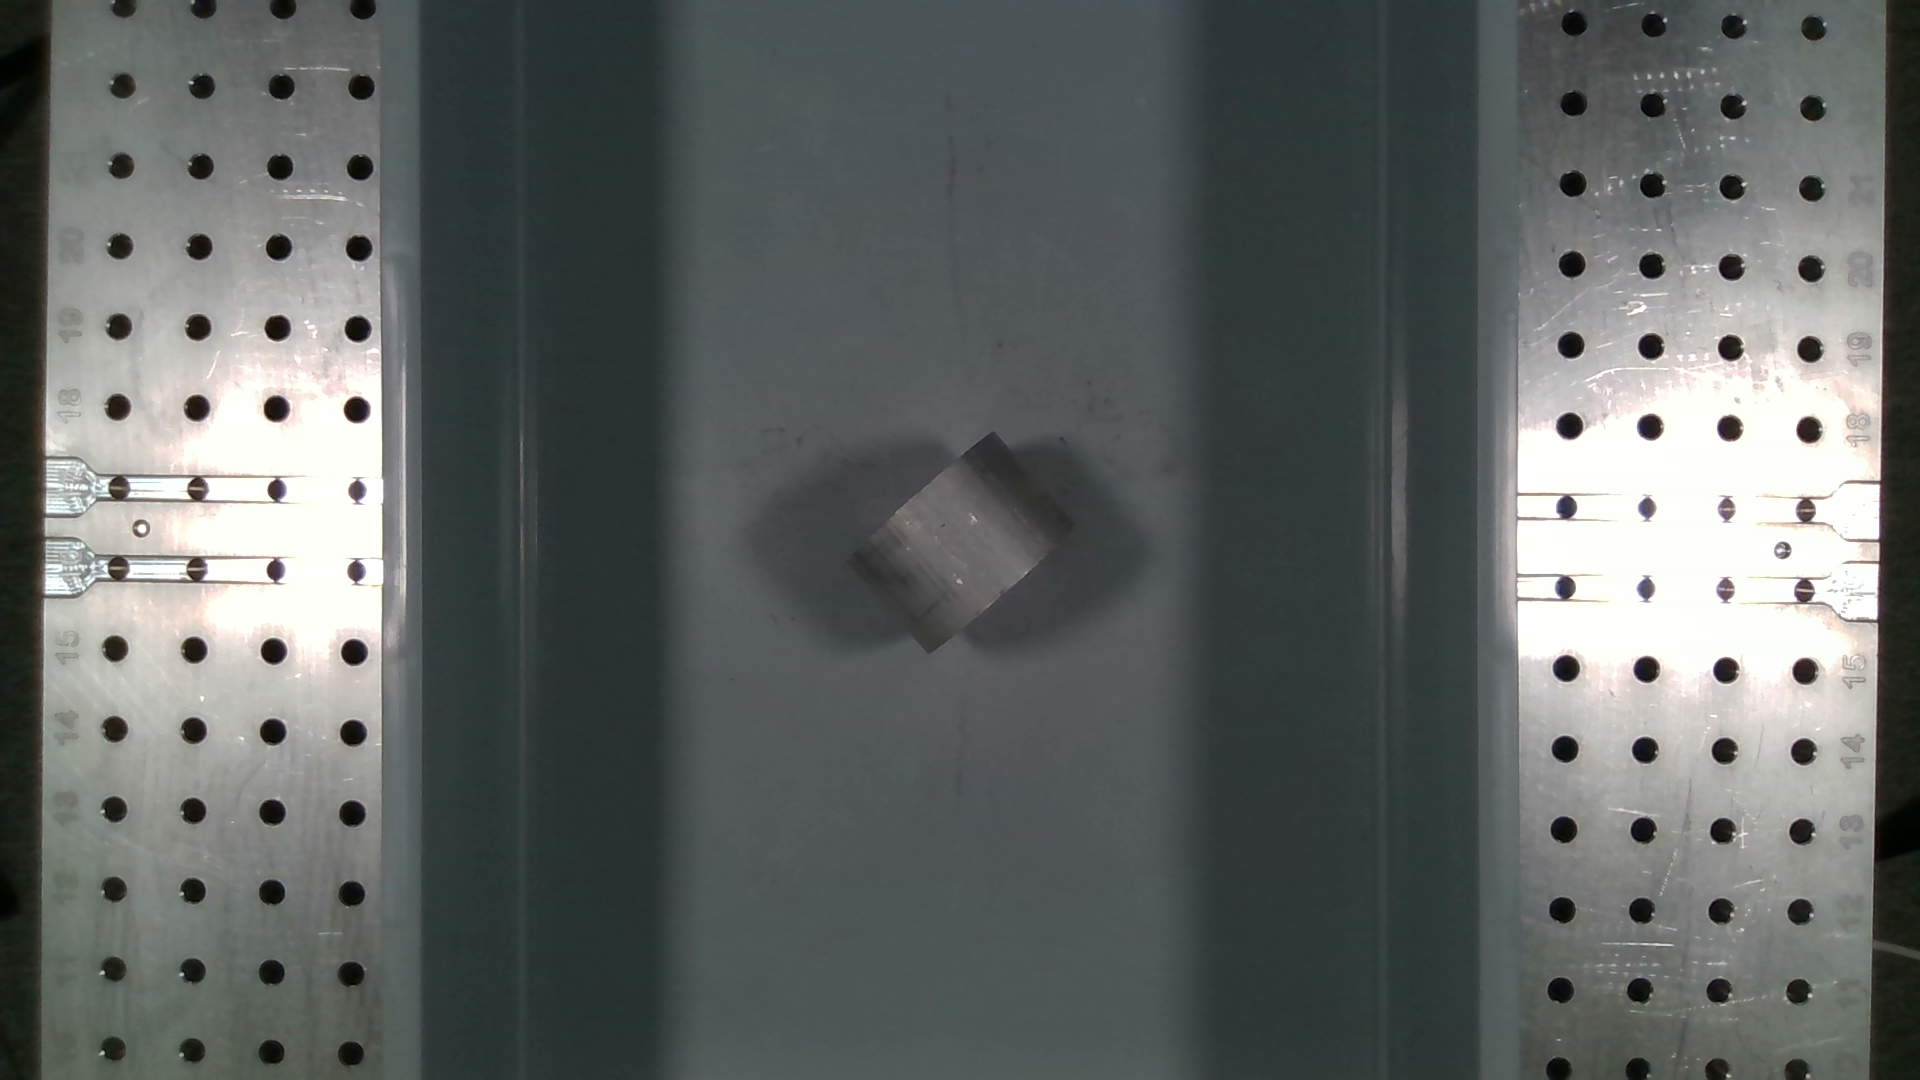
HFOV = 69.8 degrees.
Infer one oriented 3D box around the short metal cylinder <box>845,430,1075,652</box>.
[{"bbox_3d":[0.000,0.001,0.557,0.080,0.080,0.050,-41,90,0],"label":"short metal cylinder"}]
